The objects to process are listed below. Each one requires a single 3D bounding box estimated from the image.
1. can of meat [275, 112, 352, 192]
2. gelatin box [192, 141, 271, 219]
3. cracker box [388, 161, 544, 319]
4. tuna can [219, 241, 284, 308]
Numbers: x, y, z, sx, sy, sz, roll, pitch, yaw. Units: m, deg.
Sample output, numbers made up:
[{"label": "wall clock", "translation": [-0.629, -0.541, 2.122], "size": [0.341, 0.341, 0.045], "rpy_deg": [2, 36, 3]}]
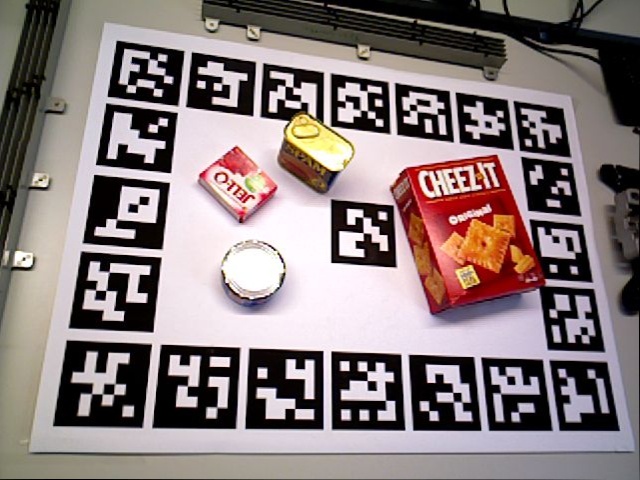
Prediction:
[{"label": "can of meat", "translation": [-0.014, -0.127, 0.803], "size": [0.101, 0.085, 0.057], "rpy_deg": [33, 64, 1]}, {"label": "gelatin box", "translation": [-0.127, -0.087, 0.780], "size": [0.089, 0.031, 0.072], "rpy_deg": [45, 62, 2]}, {"label": "cracker box", "translation": [0.218, -0.005, 0.822], "size": [0.162, 0.073, 0.212], "rpy_deg": [-11, 71, -20]}, {"label": "tuna can", "translation": [-0.093, 0.047, 0.733], "size": [0.085, 0.034, 0.085], "rpy_deg": [4, 72, -12]}]
